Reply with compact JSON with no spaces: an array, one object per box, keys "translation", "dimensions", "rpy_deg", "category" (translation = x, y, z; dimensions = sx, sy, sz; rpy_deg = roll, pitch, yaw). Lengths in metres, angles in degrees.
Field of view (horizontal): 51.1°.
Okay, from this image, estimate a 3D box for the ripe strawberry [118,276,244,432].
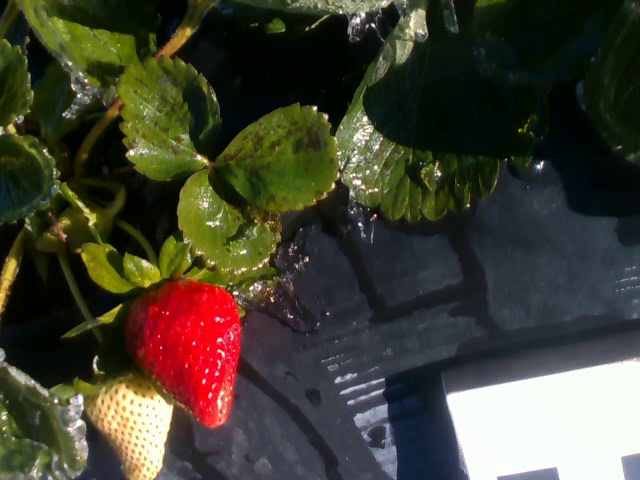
[{"translation":[-0.044,0.046,0.243],"dimensions":[0.042,0.061,0.046],"rpy_deg":[-28,-26,17],"category":"ripe strawberry"}]
